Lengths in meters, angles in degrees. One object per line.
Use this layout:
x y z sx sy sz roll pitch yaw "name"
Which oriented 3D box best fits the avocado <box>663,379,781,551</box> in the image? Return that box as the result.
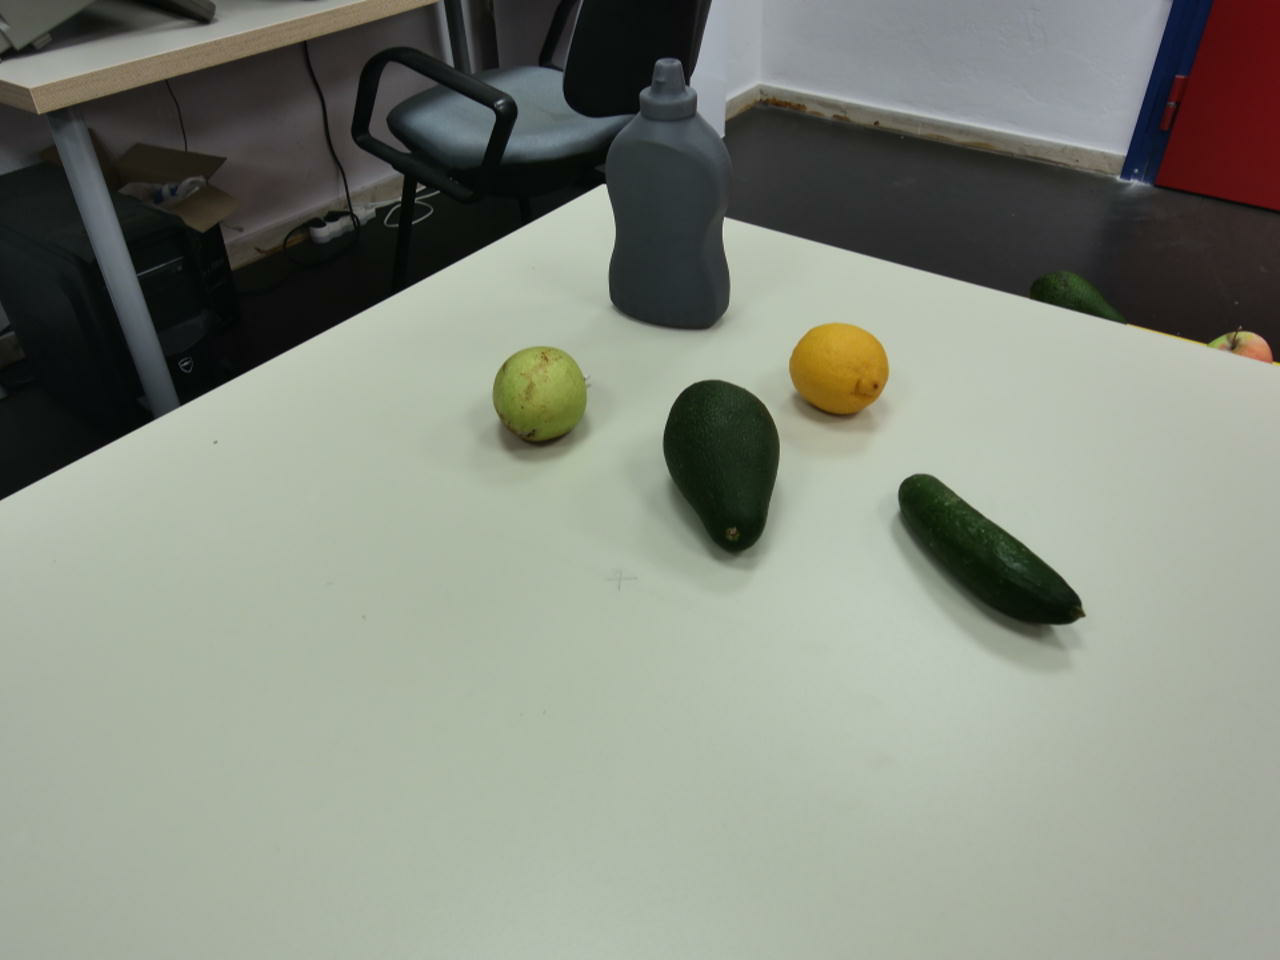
0.046 -0.013 0.596 0.073 0.071 0.109 8 38 12 "avocado"
